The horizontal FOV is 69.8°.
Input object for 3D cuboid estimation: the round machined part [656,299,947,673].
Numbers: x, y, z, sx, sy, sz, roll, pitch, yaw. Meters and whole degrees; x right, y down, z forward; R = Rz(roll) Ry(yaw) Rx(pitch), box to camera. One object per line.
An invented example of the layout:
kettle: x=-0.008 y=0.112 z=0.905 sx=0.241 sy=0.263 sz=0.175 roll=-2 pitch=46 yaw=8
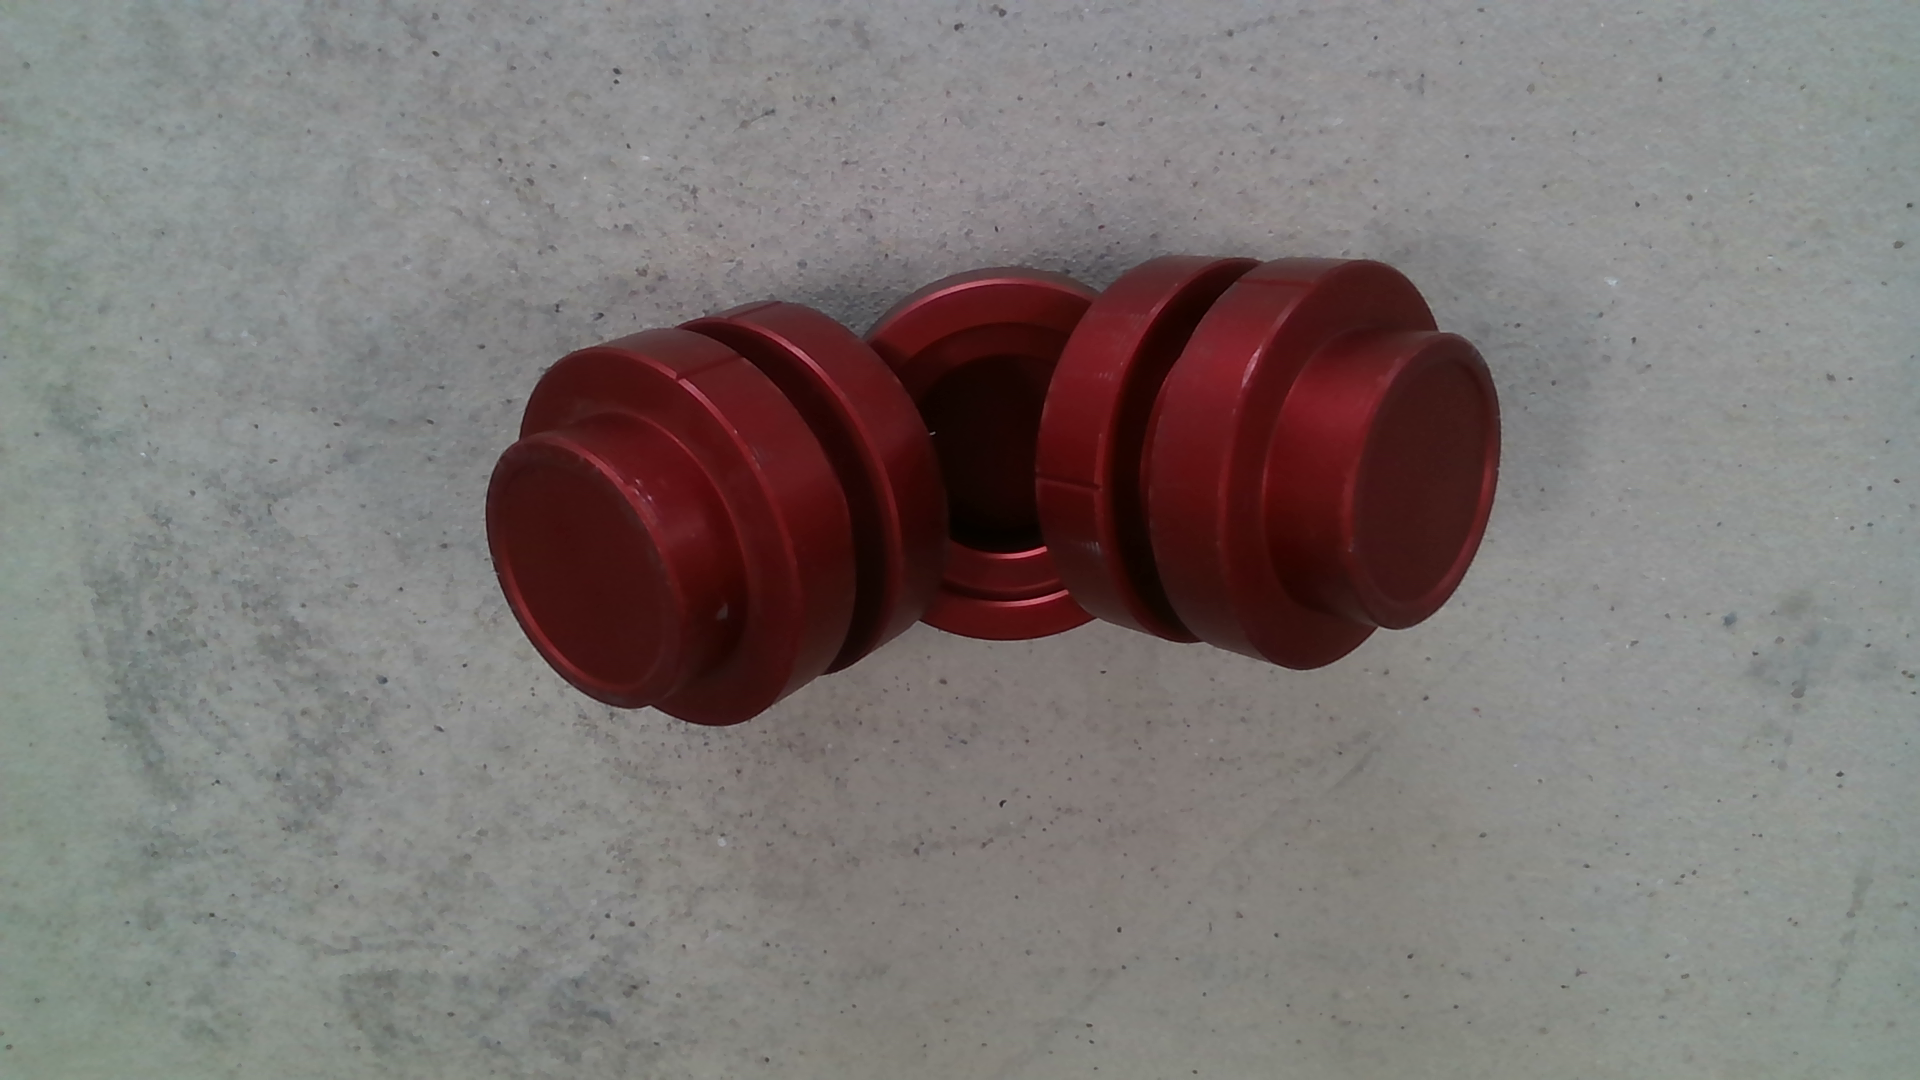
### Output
round machined part: x=-0.055 y=-0.009 z=0.355 sx=0.098 sy=0.042 sz=0.098 roll=17 pitch=120 yaw=32

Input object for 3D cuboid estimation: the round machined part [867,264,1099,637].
round machined part: x=0.013 y=-0.026 z=0.376 sx=0.098 sy=0.042 sz=0.098 roll=0 pitch=110 yaw=0

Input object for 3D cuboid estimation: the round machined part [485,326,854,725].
round machined part: x=-0.076 y=0.001 z=0.334 sx=0.098 sy=0.042 sz=0.098 roll=17 pitch=120 yaw=32

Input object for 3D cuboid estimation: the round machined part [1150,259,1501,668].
round machined part: x=0.092 y=-0.017 z=0.327 sx=0.098 sy=0.042 sz=0.098 roll=-13 pitch=109 yaw=-41

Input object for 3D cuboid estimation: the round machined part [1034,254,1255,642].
round machined part: x=0.067 y=-0.022 z=0.347 sx=0.098 sy=0.042 sz=0.098 roll=-13 pitch=110 yaw=-41
